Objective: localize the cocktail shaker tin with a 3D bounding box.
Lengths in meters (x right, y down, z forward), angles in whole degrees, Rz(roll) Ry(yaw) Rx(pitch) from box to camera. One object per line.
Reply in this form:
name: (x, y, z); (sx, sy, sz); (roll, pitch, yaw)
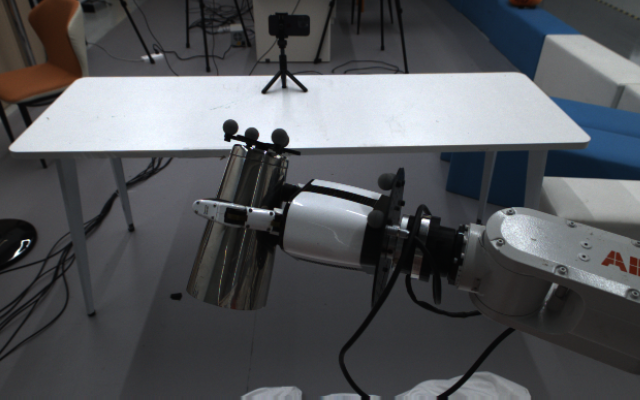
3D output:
cocktail shaker tin: (-0.086, 0.029, 0.551); (0.093, 0.170, 0.093); (13, 2, 0)
